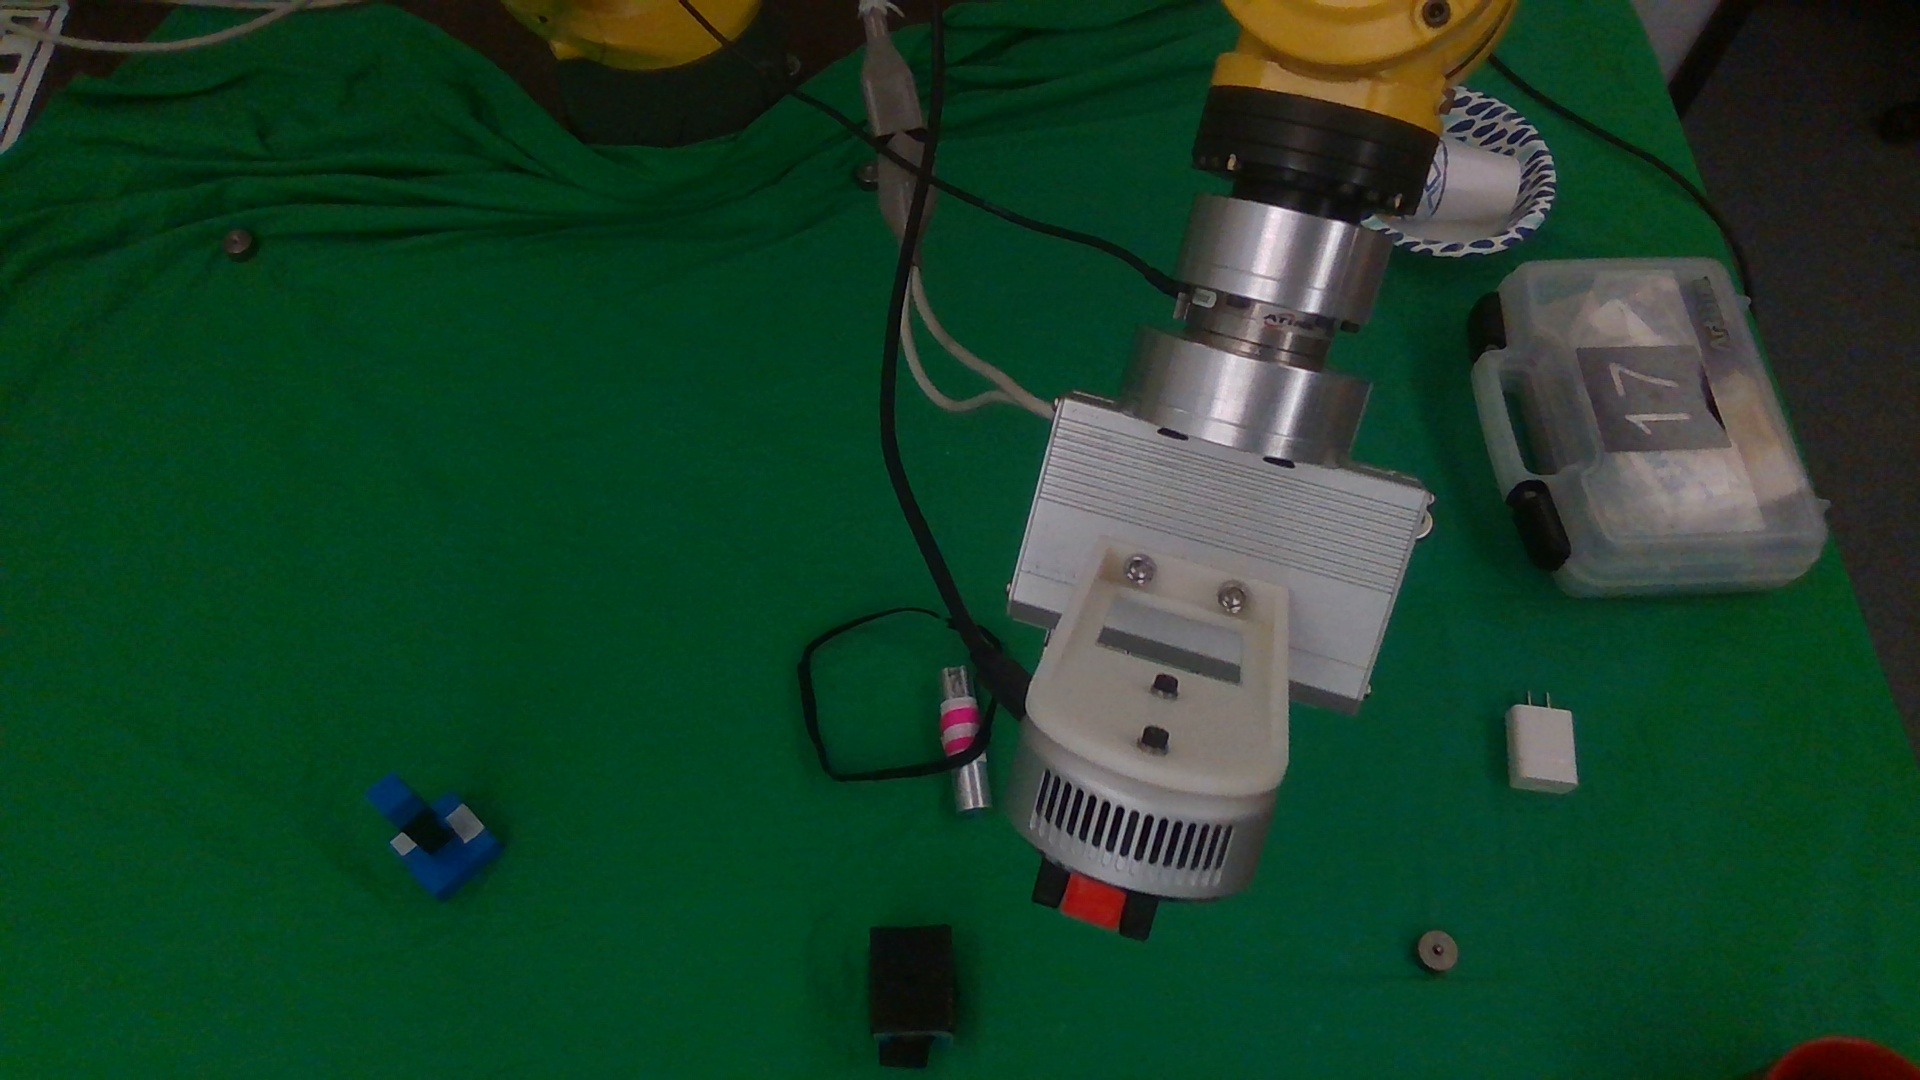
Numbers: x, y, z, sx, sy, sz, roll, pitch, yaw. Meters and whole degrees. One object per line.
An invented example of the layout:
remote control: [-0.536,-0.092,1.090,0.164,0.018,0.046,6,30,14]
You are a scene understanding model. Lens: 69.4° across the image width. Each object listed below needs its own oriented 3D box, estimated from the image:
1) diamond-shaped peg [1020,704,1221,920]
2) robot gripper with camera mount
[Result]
diamond-shaped peg: [0.056,0.104,0.530,0.074,0.122,0.045,-14,100,16]
robot gripper with camera mount: [0.057,0.065,0.400,0.119,0.193,0.158,13,106,3]
